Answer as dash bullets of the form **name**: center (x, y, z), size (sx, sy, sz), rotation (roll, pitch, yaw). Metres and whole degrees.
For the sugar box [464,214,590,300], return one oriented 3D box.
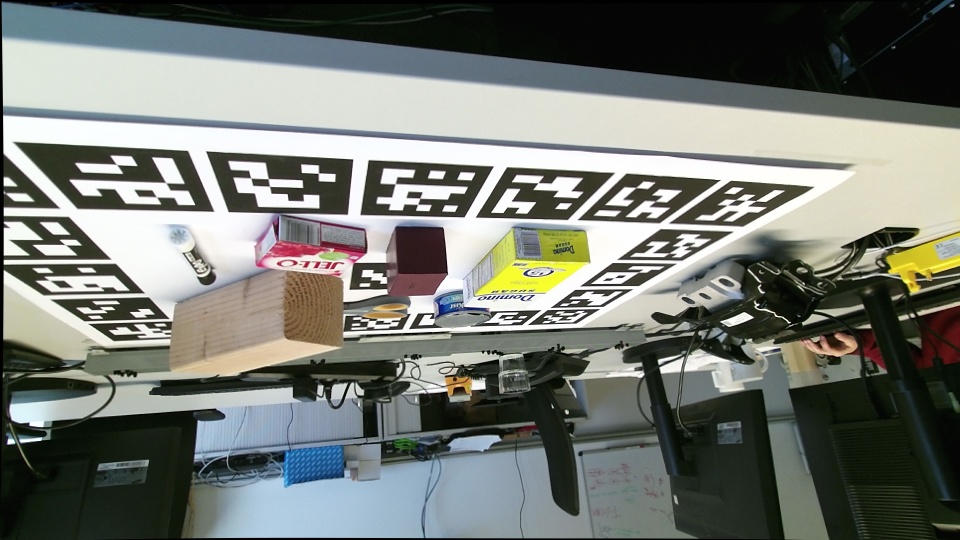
- **sugar box**: center (0.050, -0.011, 0.666), size (0.093, 0.045, 0.176), rotation (2, 156, -21)

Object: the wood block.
- **wood block**: center (-0.281, 0.059, 0.665), size (0.207, 0.090, 0.090), rotation (-19, 157, 25)

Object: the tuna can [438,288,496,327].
- **tuna can**: center (-0.020, 0.056, 0.807), size (0.086, 0.033, 0.086), rotation (-7, 157, -3)

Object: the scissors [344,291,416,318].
- **scissors**: center (-0.190, 0.052, 0.768), size (0.204, 0.016, 0.088), rotation (0, 156, -25)

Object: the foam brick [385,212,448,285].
- **foam brick**: center (-0.070, -0.022, 0.576), size (0.053, 0.051, 0.078), rotation (-1, 156, -19)

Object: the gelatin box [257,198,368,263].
- **gelatin box**: center (-0.170, -0.037, 0.542), size (0.090, 0.030, 0.073), rotation (8, 152, -35)

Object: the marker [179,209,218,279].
- **marker**: center (-0.285, -0.022, 0.546), size (0.020, 0.019, 0.121), rotation (0, 154, -19)
